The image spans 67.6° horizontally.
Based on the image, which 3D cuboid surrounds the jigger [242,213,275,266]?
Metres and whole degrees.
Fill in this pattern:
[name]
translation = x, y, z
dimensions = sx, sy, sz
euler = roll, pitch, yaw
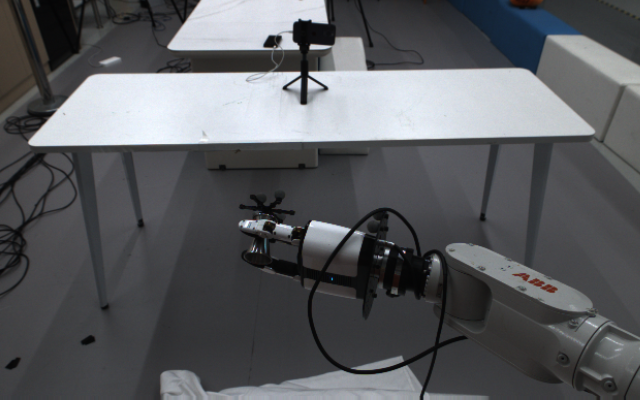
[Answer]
[jigger]
translation = -0.093, 0.058, 0.744
dimensions = 0.043, 0.043, 0.071
euler = 6, 61, 5
